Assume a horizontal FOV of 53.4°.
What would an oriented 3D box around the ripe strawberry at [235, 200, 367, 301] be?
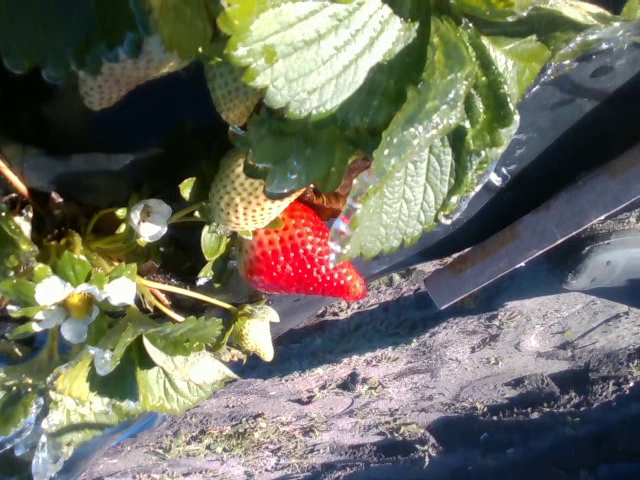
[{"bbox_3d":[-0.004,0.008,0.227,0.053,0.042,0.040,29,-17,4],"label":"ripe strawberry"}]
